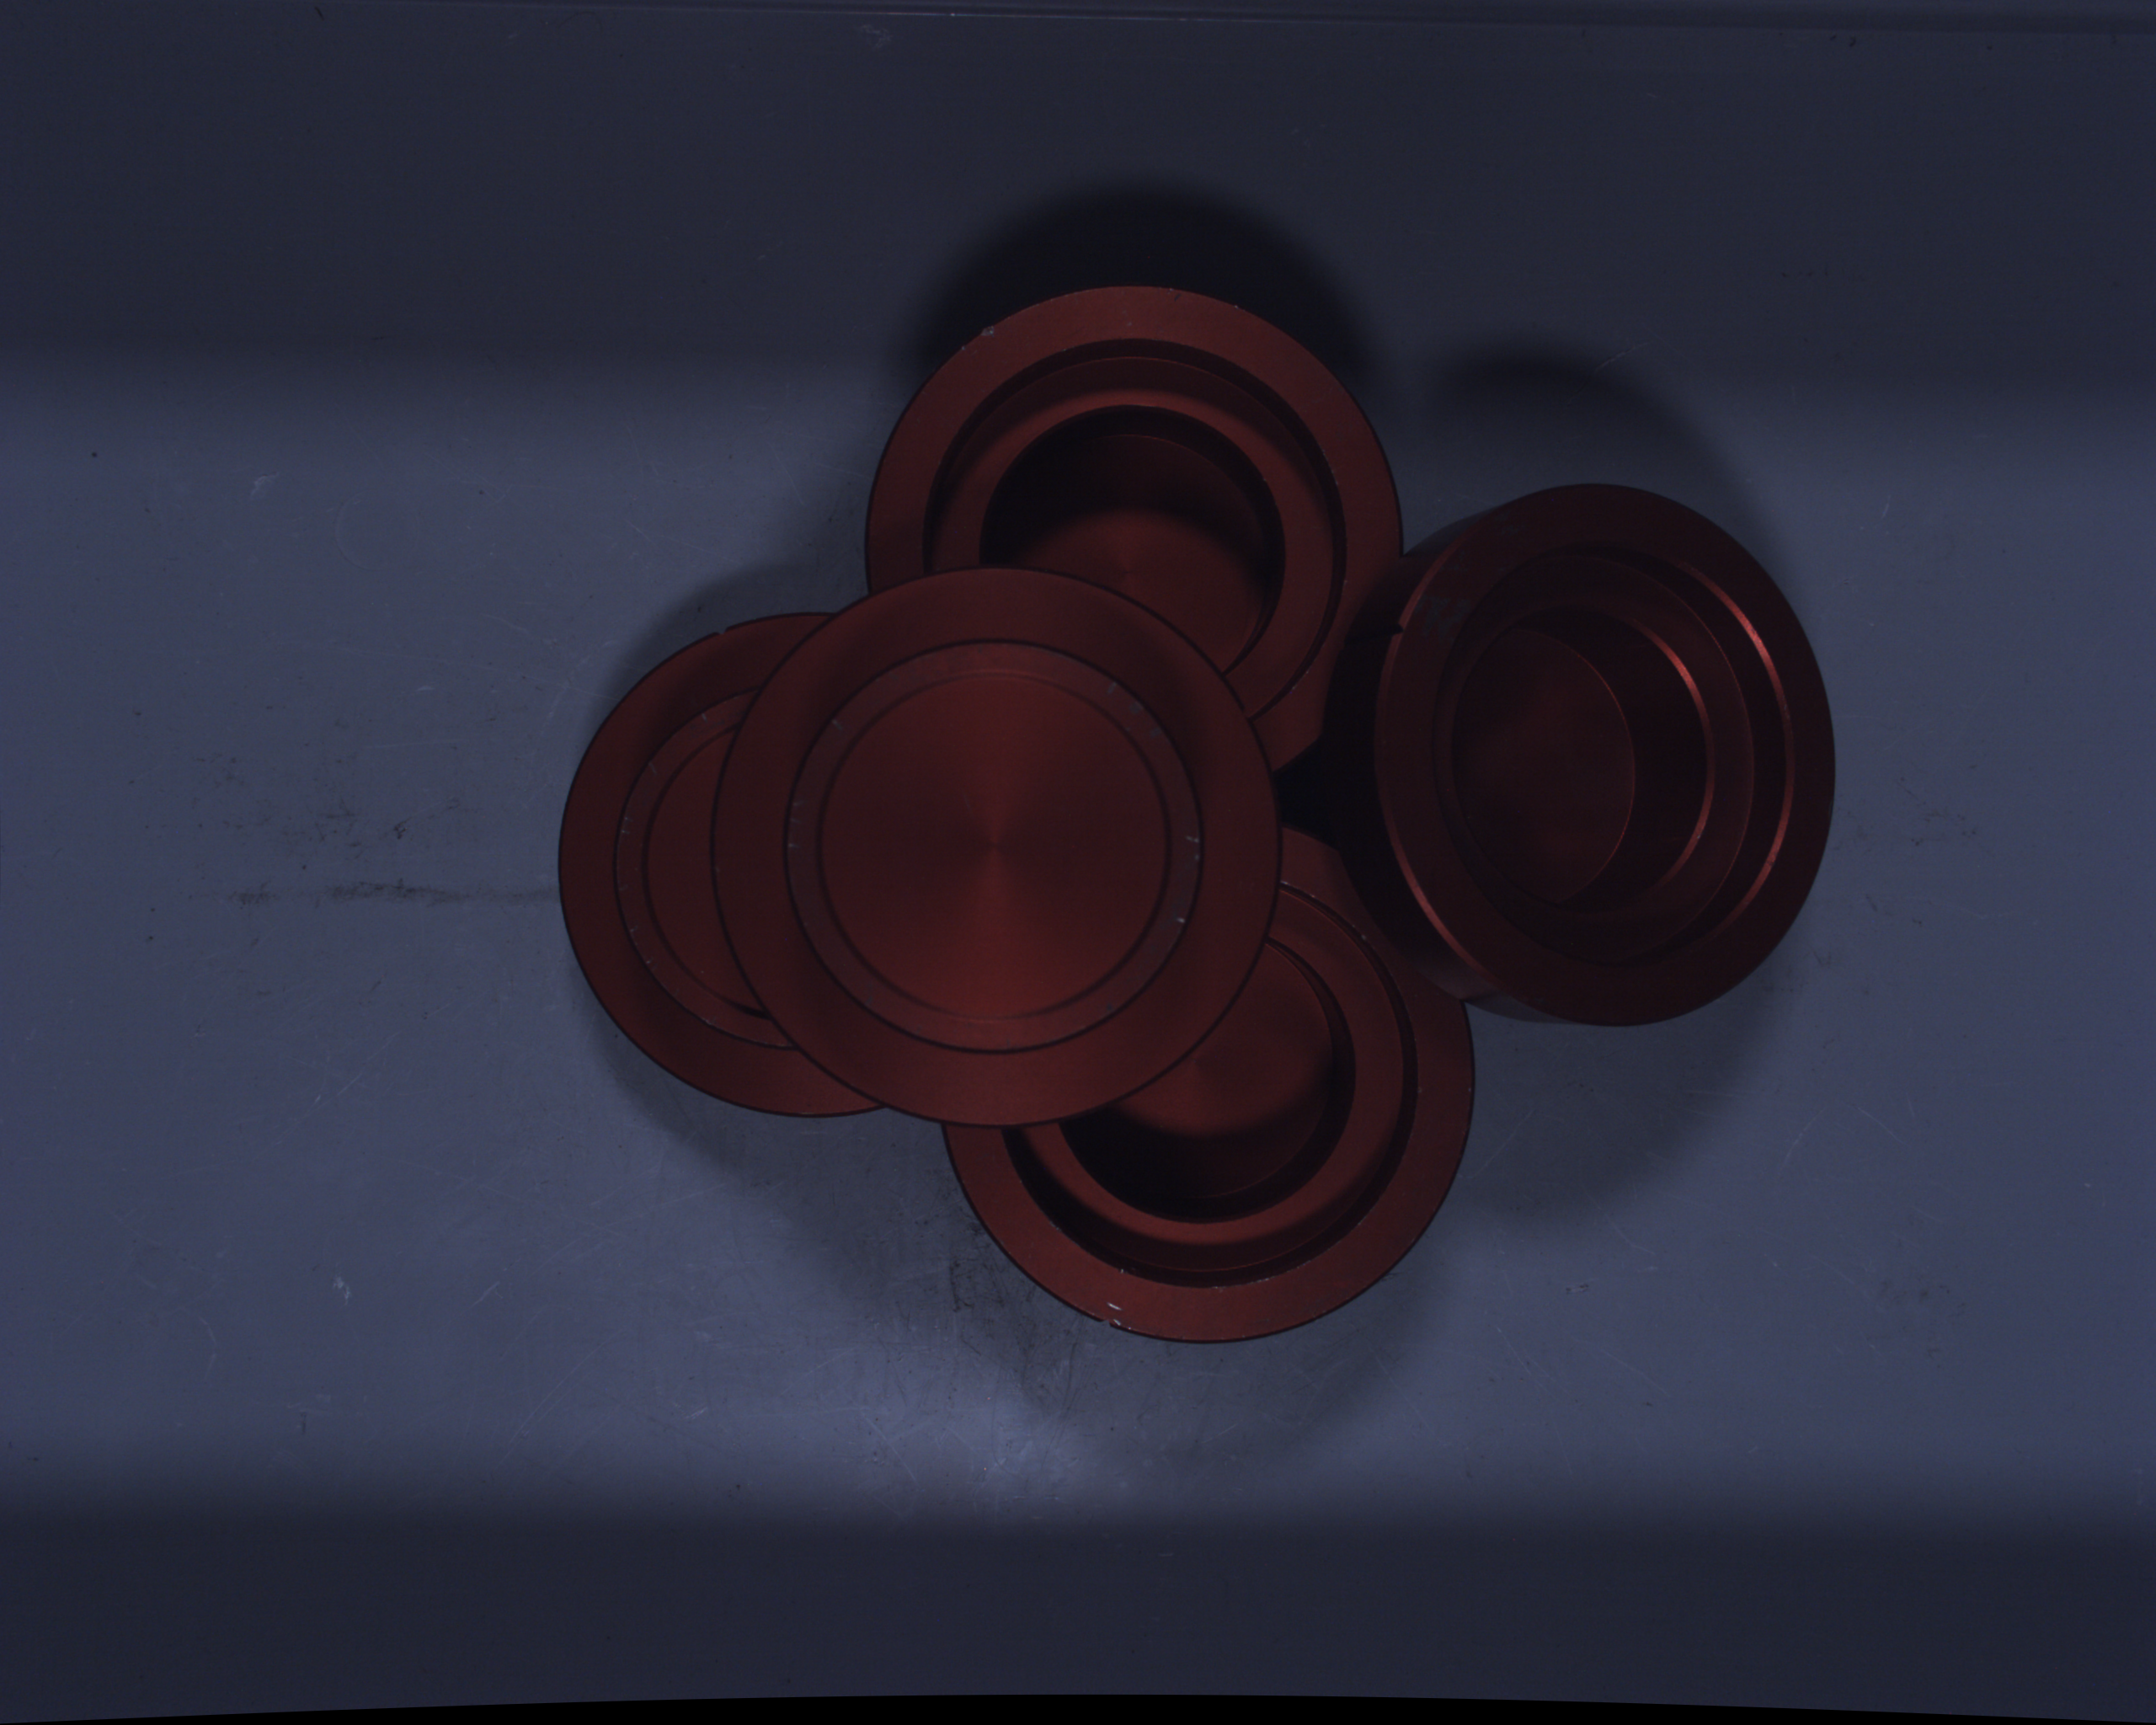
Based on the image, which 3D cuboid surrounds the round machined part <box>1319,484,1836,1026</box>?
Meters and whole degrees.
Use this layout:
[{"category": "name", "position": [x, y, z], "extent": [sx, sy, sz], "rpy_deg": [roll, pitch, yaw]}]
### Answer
[{"category": "round machined part", "position": [0.089, -0.019, 0.392], "extent": [0.099, 0.042, 0.097], "rpy_deg": [1, 87, -21]}]

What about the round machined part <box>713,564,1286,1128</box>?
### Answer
[{"category": "round machined part", "position": [-0.013, -0.003, 0.358], "extent": [0.099, 0.042, 0.097], "rpy_deg": [0, 90, -1]}]

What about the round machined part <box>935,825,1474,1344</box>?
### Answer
[{"category": "round machined part", "position": [0.023, 0.039, 0.401], "extent": [0.099, 0.042, 0.097], "rpy_deg": [0, 90, -1]}]

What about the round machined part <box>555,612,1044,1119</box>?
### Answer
[{"category": "round machined part", "position": [-0.051, 0.001, 0.399], "extent": [0.099, 0.042, 0.097], "rpy_deg": [0, 90, -1]}]

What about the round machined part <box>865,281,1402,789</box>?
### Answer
[{"category": "round machined part", "position": [0.010, -0.058, 0.402], "extent": [0.099, 0.042, 0.097], "rpy_deg": [0, 90, -1]}]
